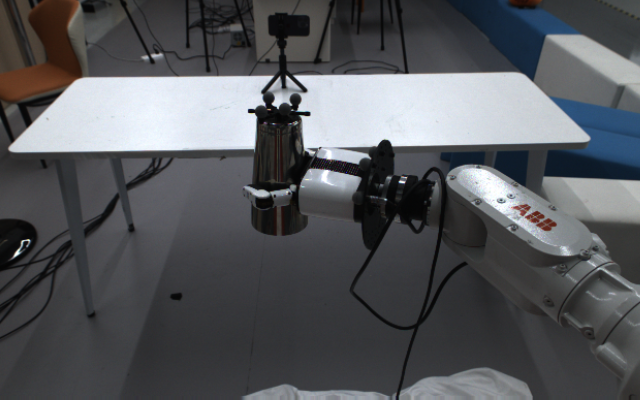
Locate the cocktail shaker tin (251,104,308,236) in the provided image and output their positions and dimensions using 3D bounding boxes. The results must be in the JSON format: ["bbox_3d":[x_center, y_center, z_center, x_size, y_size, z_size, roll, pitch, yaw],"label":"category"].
[{"bbox_3d":[-0.060,-0.044,0.732,0.093,0.170,0.093,2,28,-1],"label":"cocktail shaker tin"}]
